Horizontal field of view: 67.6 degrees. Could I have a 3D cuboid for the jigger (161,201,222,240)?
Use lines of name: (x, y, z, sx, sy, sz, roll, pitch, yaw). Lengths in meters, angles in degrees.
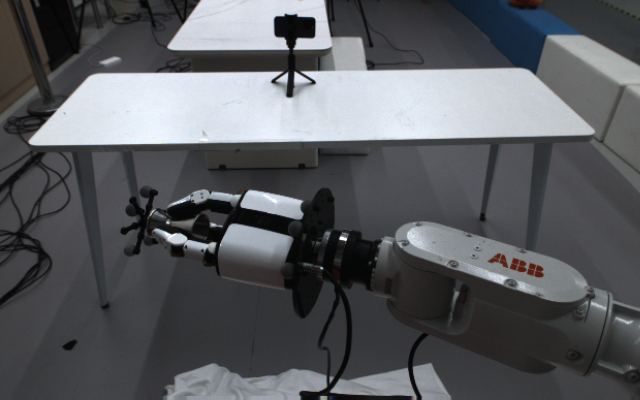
jigger: (-0.178, 0.033, 0.629, 0.071, 0.043, 0.043, 7, 35, 16)
